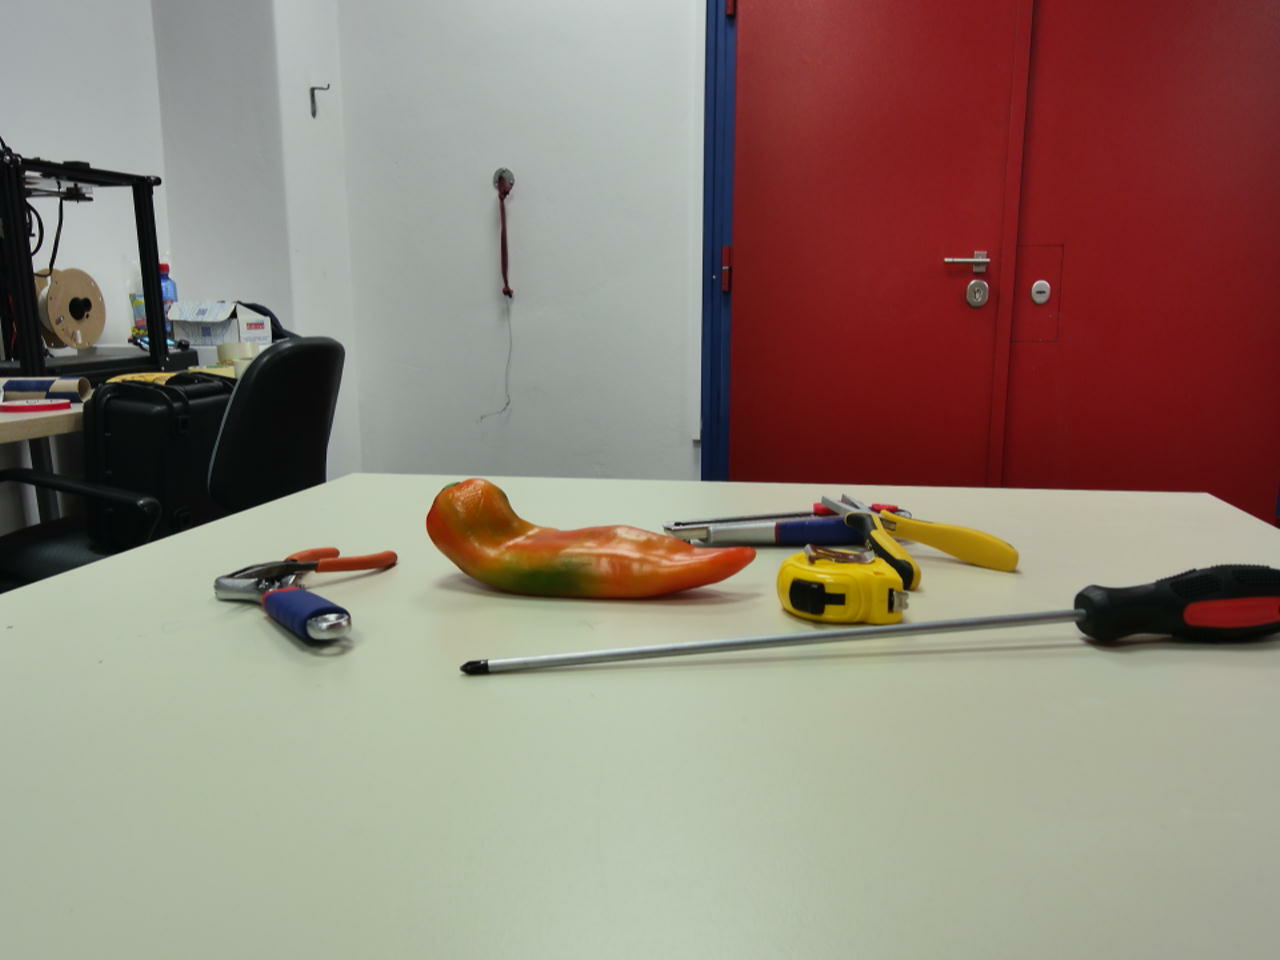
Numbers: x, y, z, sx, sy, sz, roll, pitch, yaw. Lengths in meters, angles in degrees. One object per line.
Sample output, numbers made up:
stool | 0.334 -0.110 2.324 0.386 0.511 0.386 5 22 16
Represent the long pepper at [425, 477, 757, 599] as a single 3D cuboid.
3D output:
long pepper | -0.032 0.034 0.588 0.199 0.065 0.066 2 8 16
